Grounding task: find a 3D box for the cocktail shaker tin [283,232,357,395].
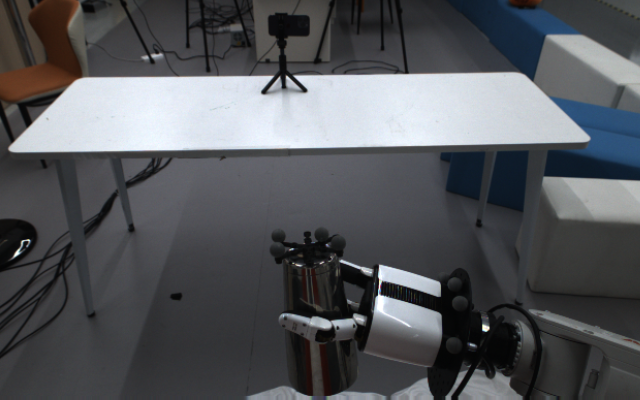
[{"bbox_3d":[-0.003,0.143,0.598,0.093,0.170,0.093,-6,19,2],"label":"cocktail shaker tin"}]
